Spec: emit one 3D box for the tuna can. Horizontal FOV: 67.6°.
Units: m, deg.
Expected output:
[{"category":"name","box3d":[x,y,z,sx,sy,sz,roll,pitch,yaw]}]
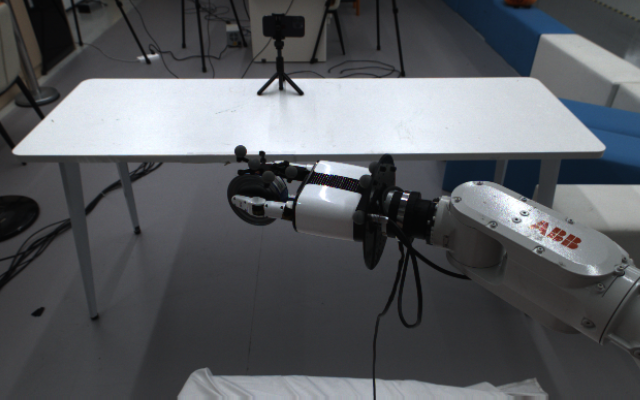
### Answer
[{"category":"tuna can","box3d":[-0.090,-0.006,0.713,0.085,0.085,0.034,12,30,15]}]
